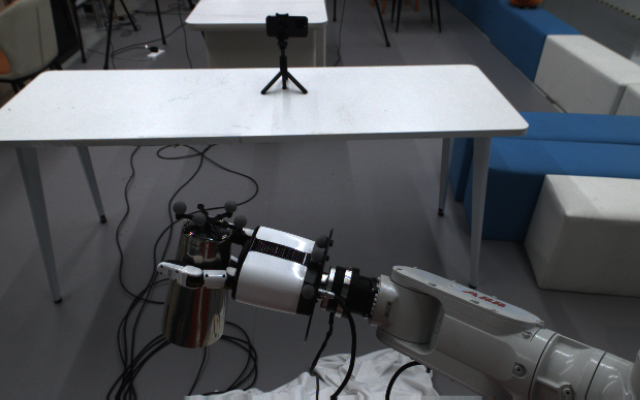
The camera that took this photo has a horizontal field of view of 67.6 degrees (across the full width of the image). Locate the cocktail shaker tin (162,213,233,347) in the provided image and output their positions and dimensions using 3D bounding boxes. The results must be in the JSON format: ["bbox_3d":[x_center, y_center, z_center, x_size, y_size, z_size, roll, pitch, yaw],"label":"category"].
[{"bbox_3d":[-0.165,0.108,0.677,0.093,0.170,0.093,12,26,-6],"label":"cocktail shaker tin"}]
